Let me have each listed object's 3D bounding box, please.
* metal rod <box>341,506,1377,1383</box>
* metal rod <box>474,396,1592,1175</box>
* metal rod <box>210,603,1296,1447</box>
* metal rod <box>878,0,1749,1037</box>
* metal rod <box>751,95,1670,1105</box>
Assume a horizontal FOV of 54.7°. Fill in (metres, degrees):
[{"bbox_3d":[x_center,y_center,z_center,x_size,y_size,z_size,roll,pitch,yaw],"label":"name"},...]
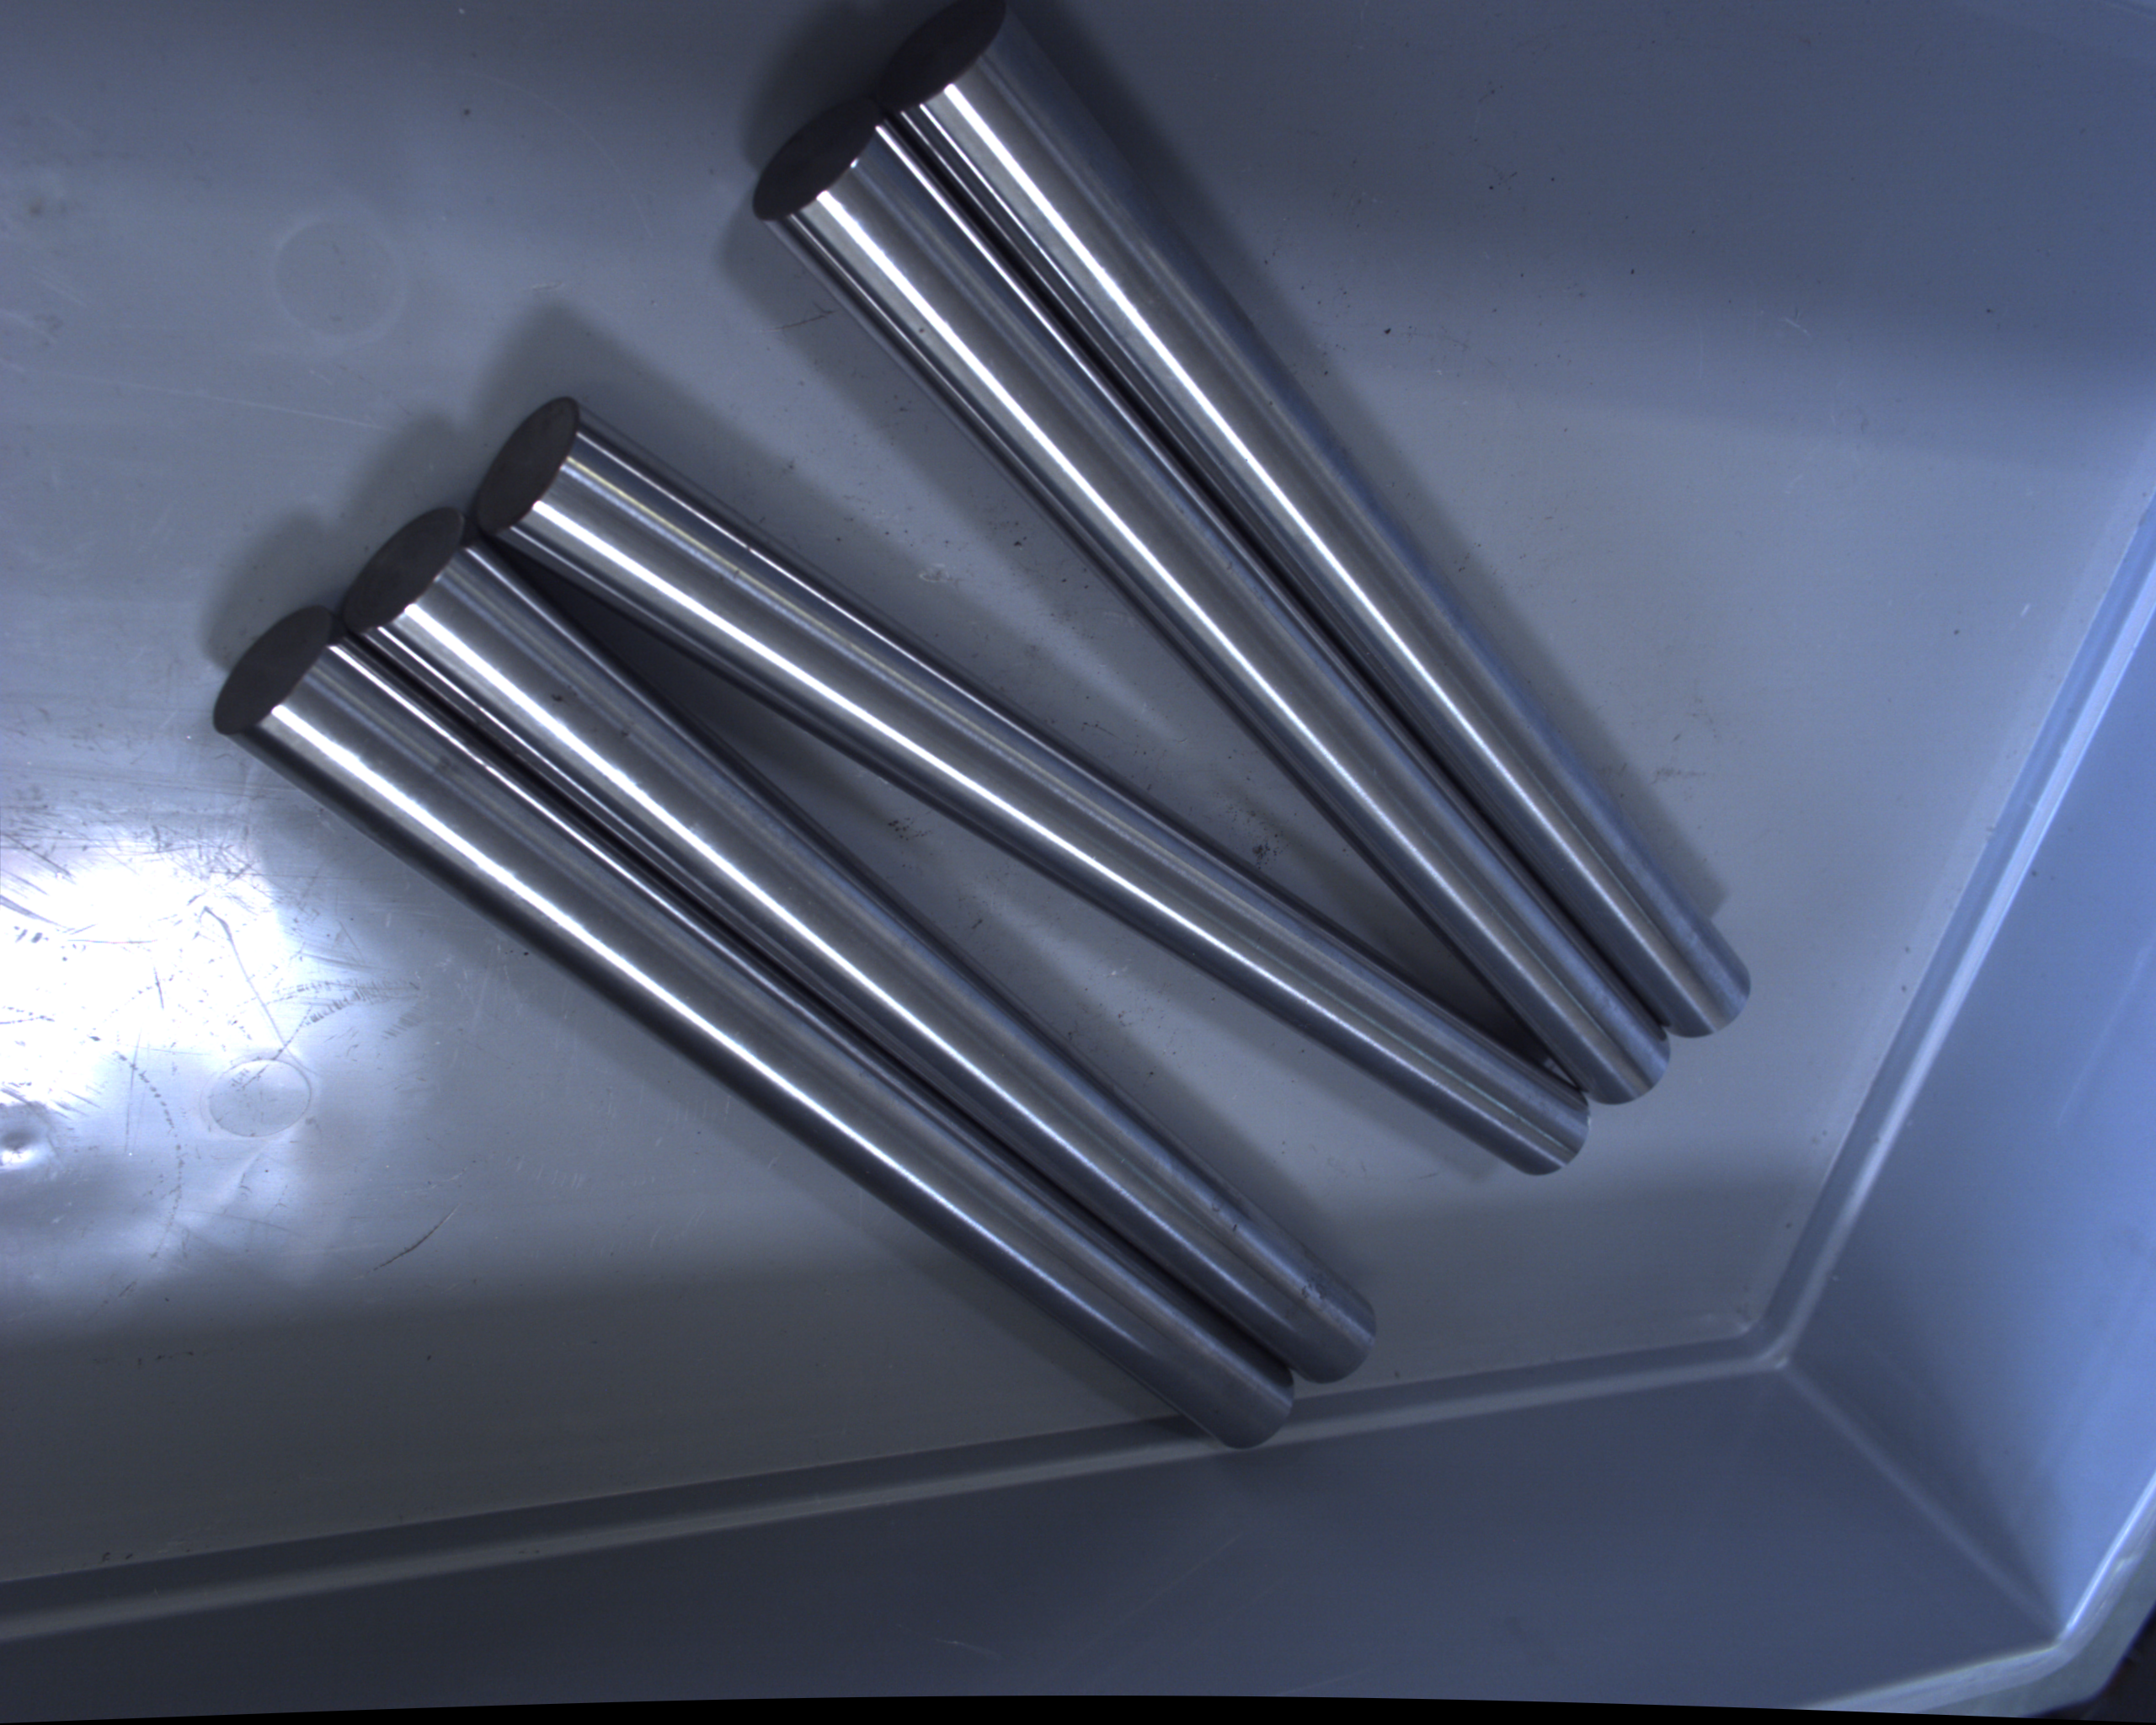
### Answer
[{"bbox_3d":[-0.021,0.035,0.417,0.025,0.025,0.300,-44,129,2],"label":"metal rod"},{"bbox_3d":[0.014,0.002,0.416,0.301,0.025,0.025,32,100,-38],"label":"metal rod"},{"bbox_3d":[-0.041,0.051,0.416,0.025,0.025,0.300,-44,129,2],"label":"metal rod"},{"bbox_3d":[0.065,-0.046,0.414,0.025,0.025,0.300,-45,129,3],"label":"metal rod"},{"bbox_3d":[0.046,-0.030,0.413,0.025,0.025,0.300,-45,129,3],"label":"metal rod"}]
